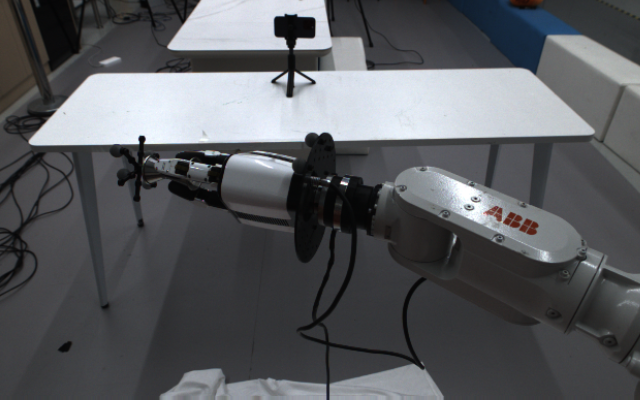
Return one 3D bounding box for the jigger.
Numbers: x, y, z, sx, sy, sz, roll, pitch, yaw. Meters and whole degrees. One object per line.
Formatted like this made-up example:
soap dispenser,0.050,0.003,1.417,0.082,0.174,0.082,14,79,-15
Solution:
jigger,-0.190,-0.042,0.643,0.071,0.043,0.043,4,34,14
